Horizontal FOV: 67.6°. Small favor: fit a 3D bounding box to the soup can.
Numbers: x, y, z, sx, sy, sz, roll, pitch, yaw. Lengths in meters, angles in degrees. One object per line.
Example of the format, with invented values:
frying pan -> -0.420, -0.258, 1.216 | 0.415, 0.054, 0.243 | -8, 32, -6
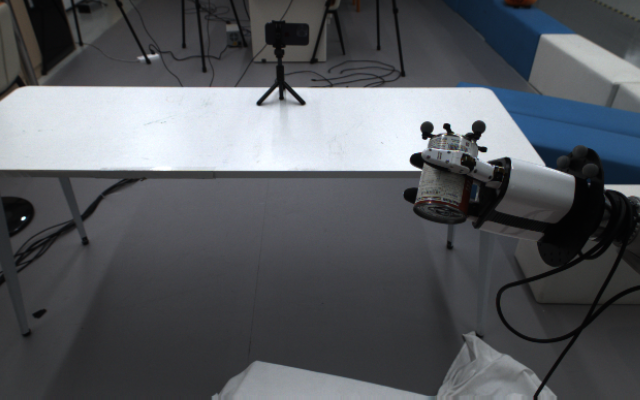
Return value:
soup can -> 0.167, -0.028, 0.634 | 0.067, 0.067, 0.101 | 11, 72, 13
